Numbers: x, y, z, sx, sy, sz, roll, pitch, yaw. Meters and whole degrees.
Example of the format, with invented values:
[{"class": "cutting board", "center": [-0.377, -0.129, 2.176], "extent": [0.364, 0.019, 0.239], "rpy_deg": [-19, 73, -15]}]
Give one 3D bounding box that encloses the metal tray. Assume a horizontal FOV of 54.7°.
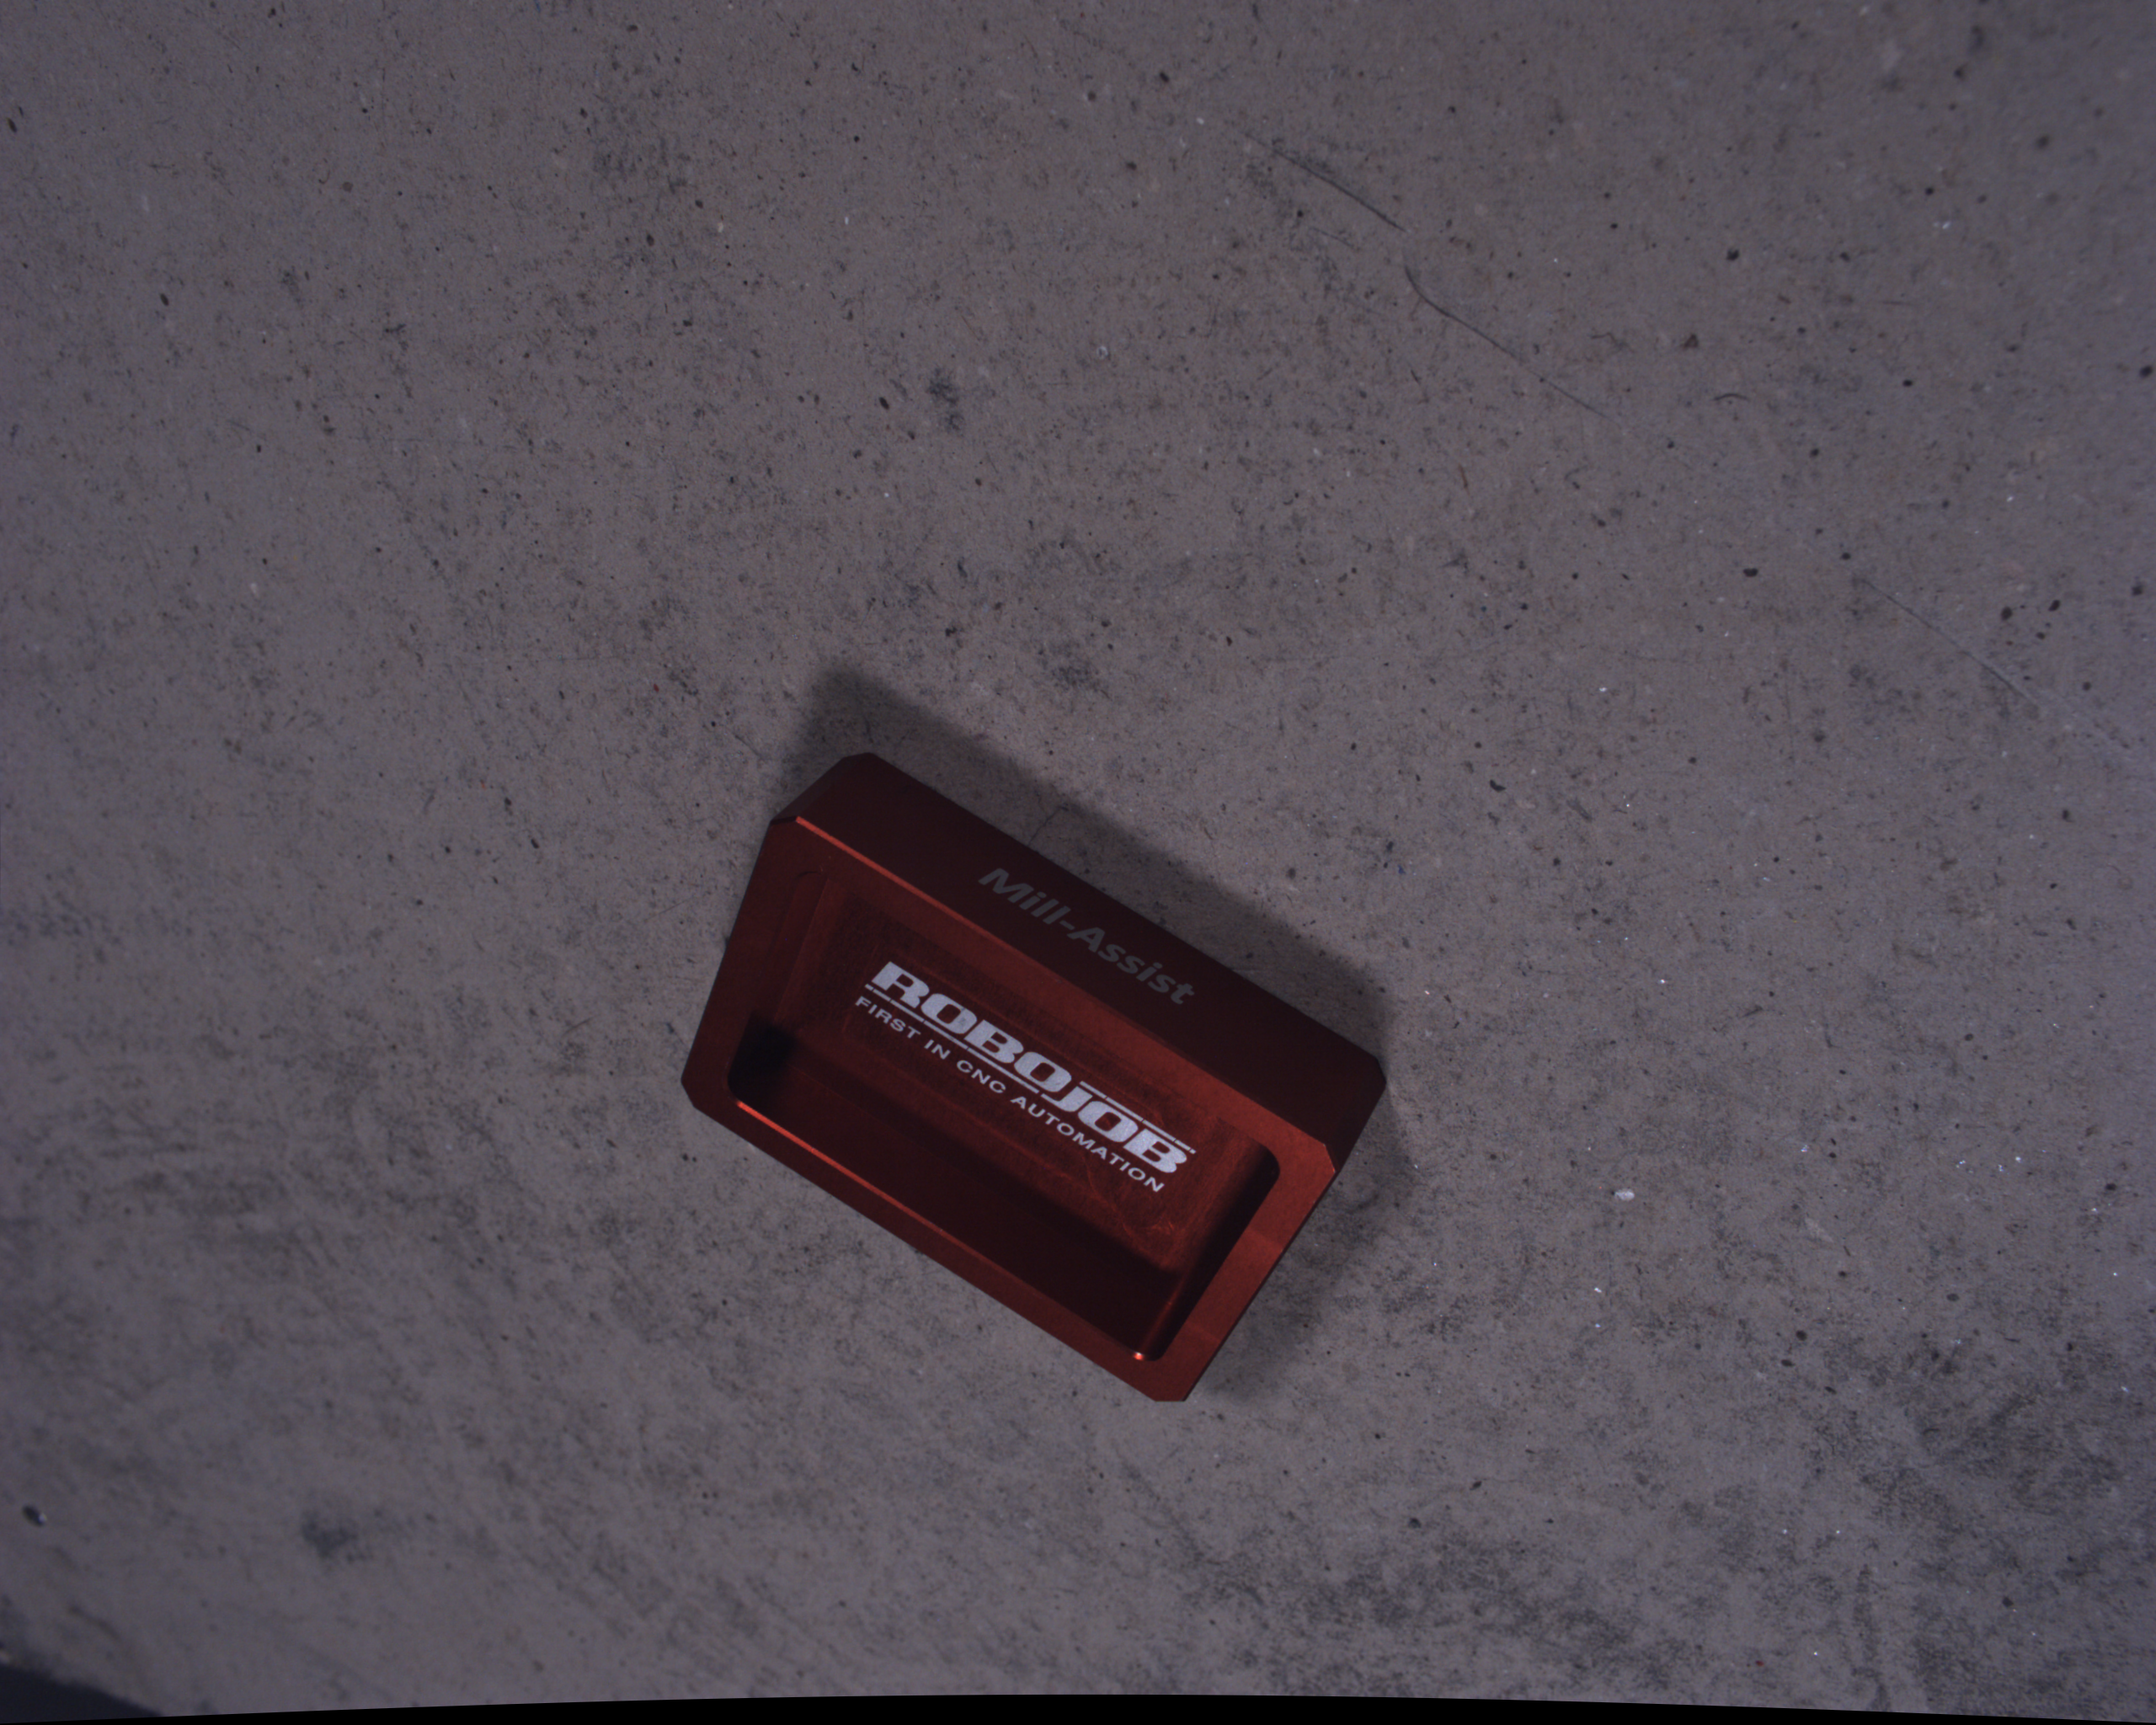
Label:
[{"class": "metal tray", "center": [-0.013, 0.046, 0.439], "extent": [0.130, 0.030, 0.089], "rpy_deg": [31, 128, 7]}]
